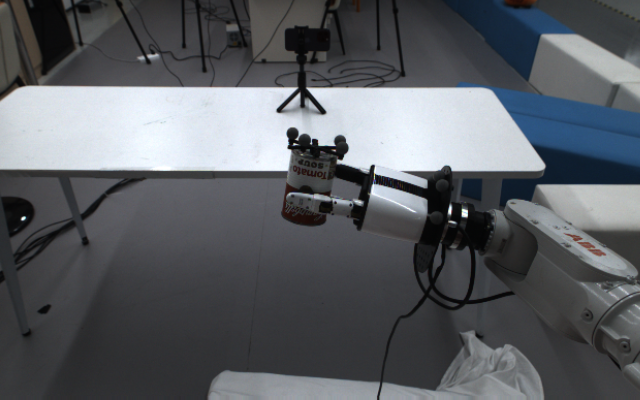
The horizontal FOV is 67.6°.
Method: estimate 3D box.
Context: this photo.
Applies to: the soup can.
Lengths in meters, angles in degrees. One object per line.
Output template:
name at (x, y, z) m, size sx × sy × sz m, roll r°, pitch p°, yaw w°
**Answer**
soup can at (-0.015, -0.022, 0.697) m, size 0.067 × 0.101 × 0.067 m, roll 9°, pitch 20°, yaw -3°
